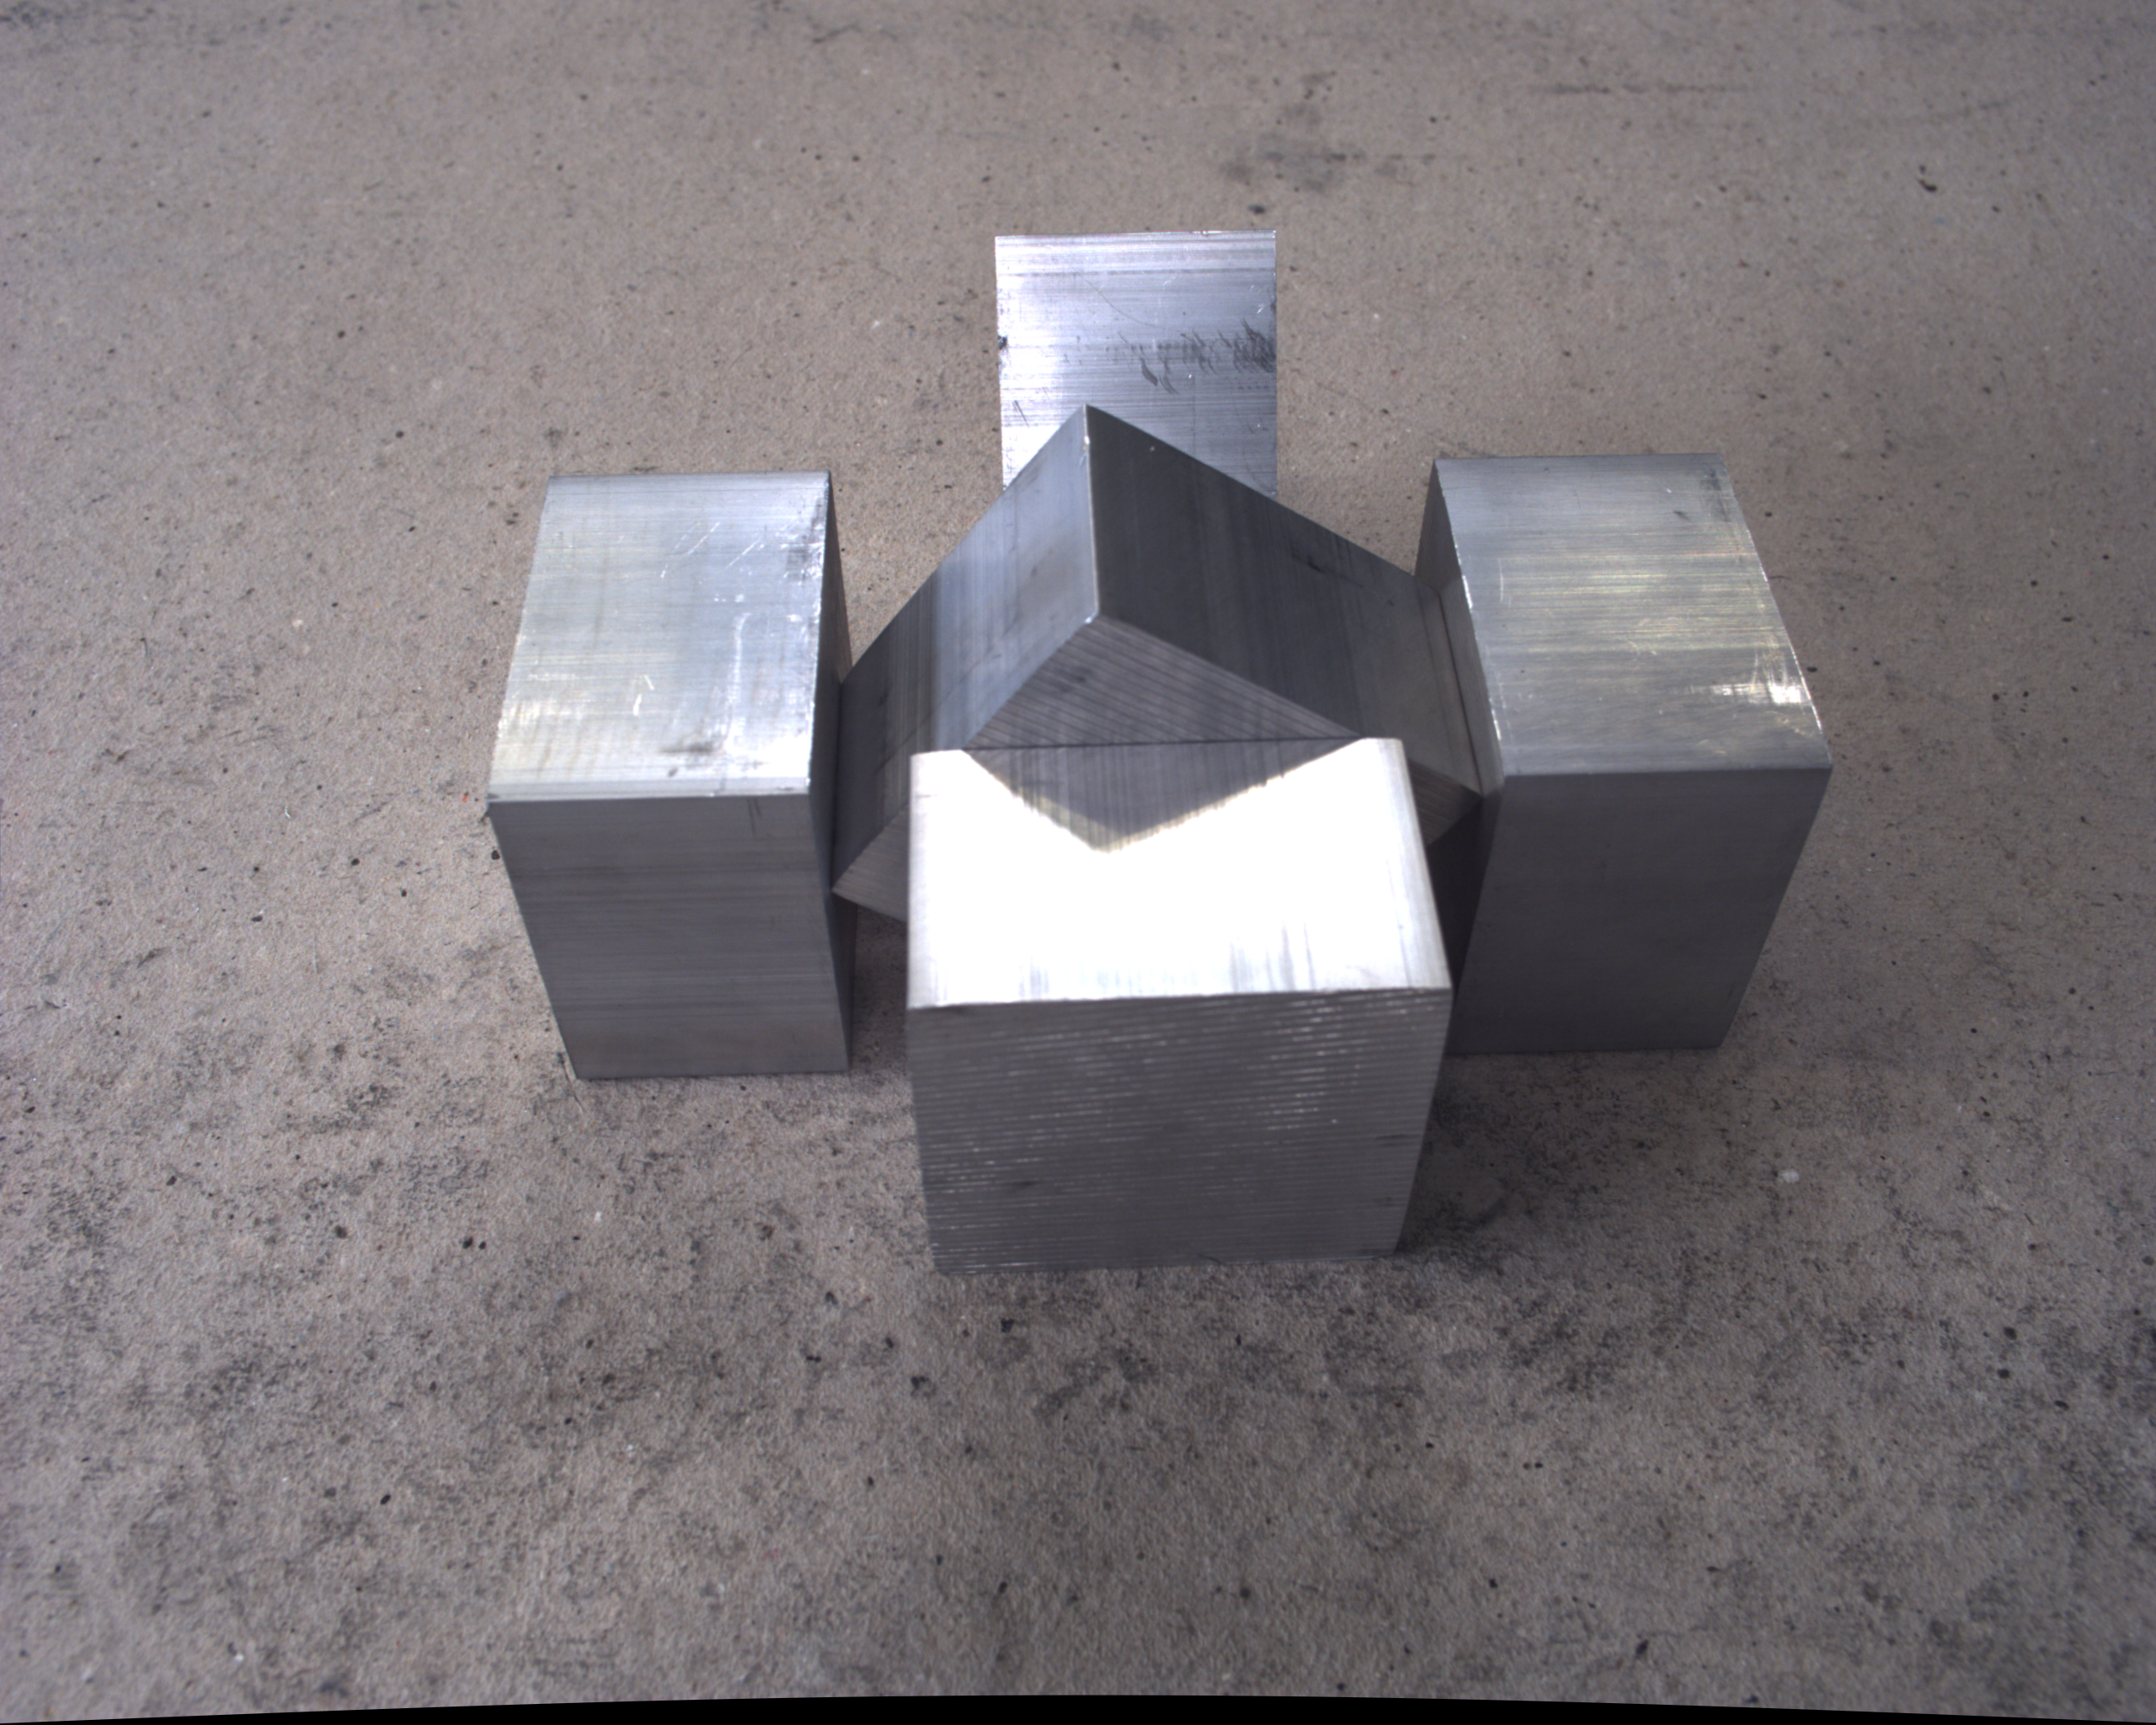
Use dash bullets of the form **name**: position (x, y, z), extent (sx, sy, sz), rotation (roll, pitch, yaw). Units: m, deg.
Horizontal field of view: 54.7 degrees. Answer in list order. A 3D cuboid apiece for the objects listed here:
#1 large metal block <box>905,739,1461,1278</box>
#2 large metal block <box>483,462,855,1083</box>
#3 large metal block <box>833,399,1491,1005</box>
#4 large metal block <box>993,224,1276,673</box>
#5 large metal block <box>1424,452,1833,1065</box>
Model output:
- **large metal block**: position (0.014, 0.026, 0.348), extent (0.081, 0.080, 0.050), rotation (-2, 50, -2)
- **large metal block**: position (-0.069, -0.016, 0.381), extent (0.050, 0.080, 0.080), rotation (-1, 50, -2)
- **large metal block**: position (0.012, -0.021, 0.368), extent (0.080, 0.080, 0.050), rotation (23, 43, -28)
- **large metal block**: position (0.010, -0.083, 0.420), extent (0.050, 0.079, 0.080), rotation (-2, 13, -2)
- **large metal block**: position (0.092, -0.019, 0.385), extent (0.050, 0.080, 0.080), rotation (-1, 49, -2)
